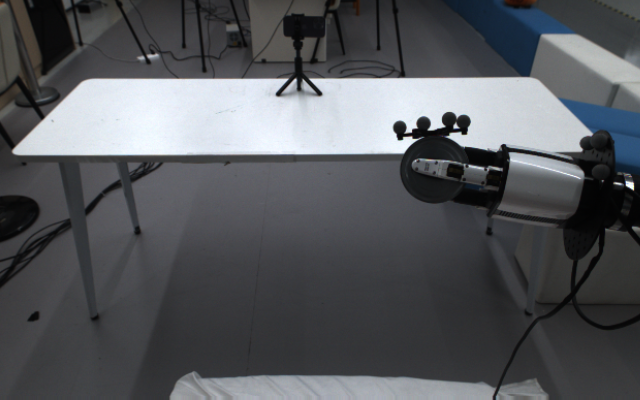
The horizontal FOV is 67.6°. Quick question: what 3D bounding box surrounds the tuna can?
[{"bbox_3d":[0.148,-0.040,0.624,0.085,0.085,0.034,10,3,11],"label":"tuna can"}]
